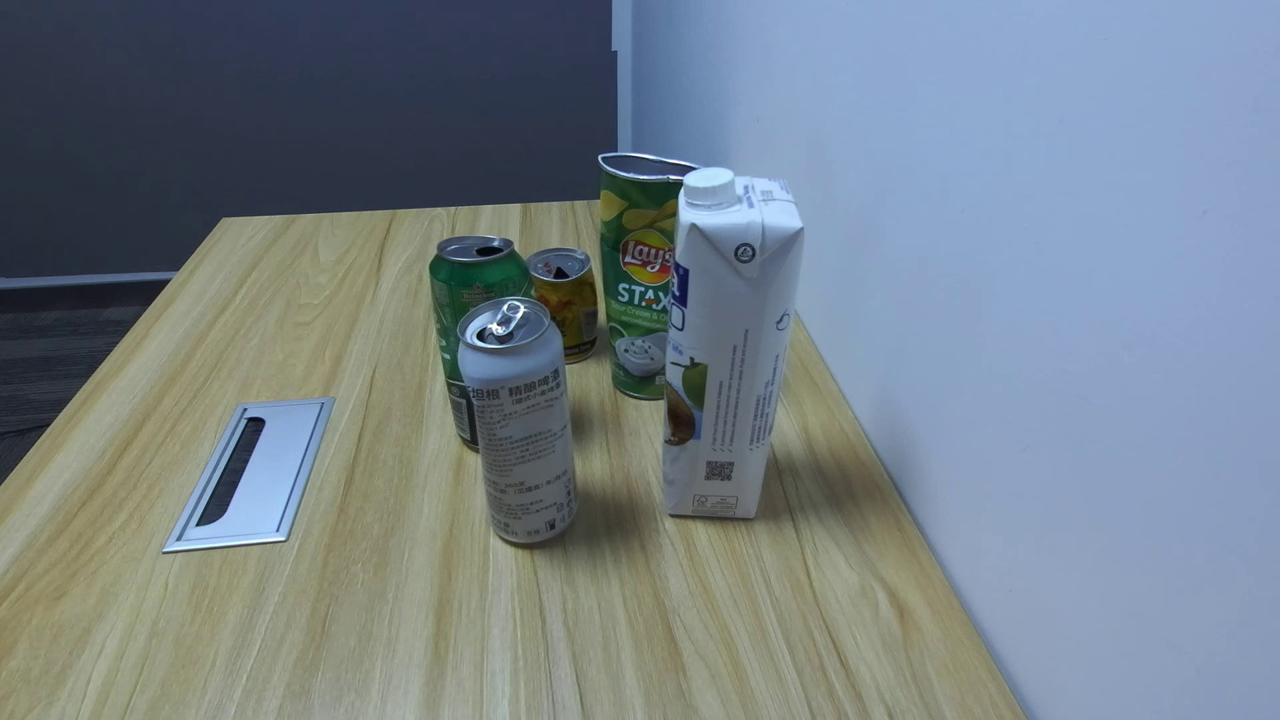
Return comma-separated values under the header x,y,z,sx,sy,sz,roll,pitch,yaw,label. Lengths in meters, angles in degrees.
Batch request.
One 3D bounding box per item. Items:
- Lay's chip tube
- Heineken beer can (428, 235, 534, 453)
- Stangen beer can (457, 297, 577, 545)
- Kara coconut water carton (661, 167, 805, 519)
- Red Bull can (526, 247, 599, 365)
x,y,z,sx,sy,sz,roll,pitch,yaw,label
0.012,-0.068,0.586,0.075,0.200,0.068,-10,40,-9,Lay's chip tube
-0.112,-0.008,0.535,0.068,0.168,0.069,1,23,12,Heineken beer can
-0.080,0.043,0.463,0.070,0.173,0.069,-28,43,-32,Stangen beer can
0.055,-0.004,0.464,0.075,0.245,0.077,2,35,0,Kara coconut water carton
-0.074,-0.051,0.659,0.072,0.092,0.072,1,36,0,Red Bull can
